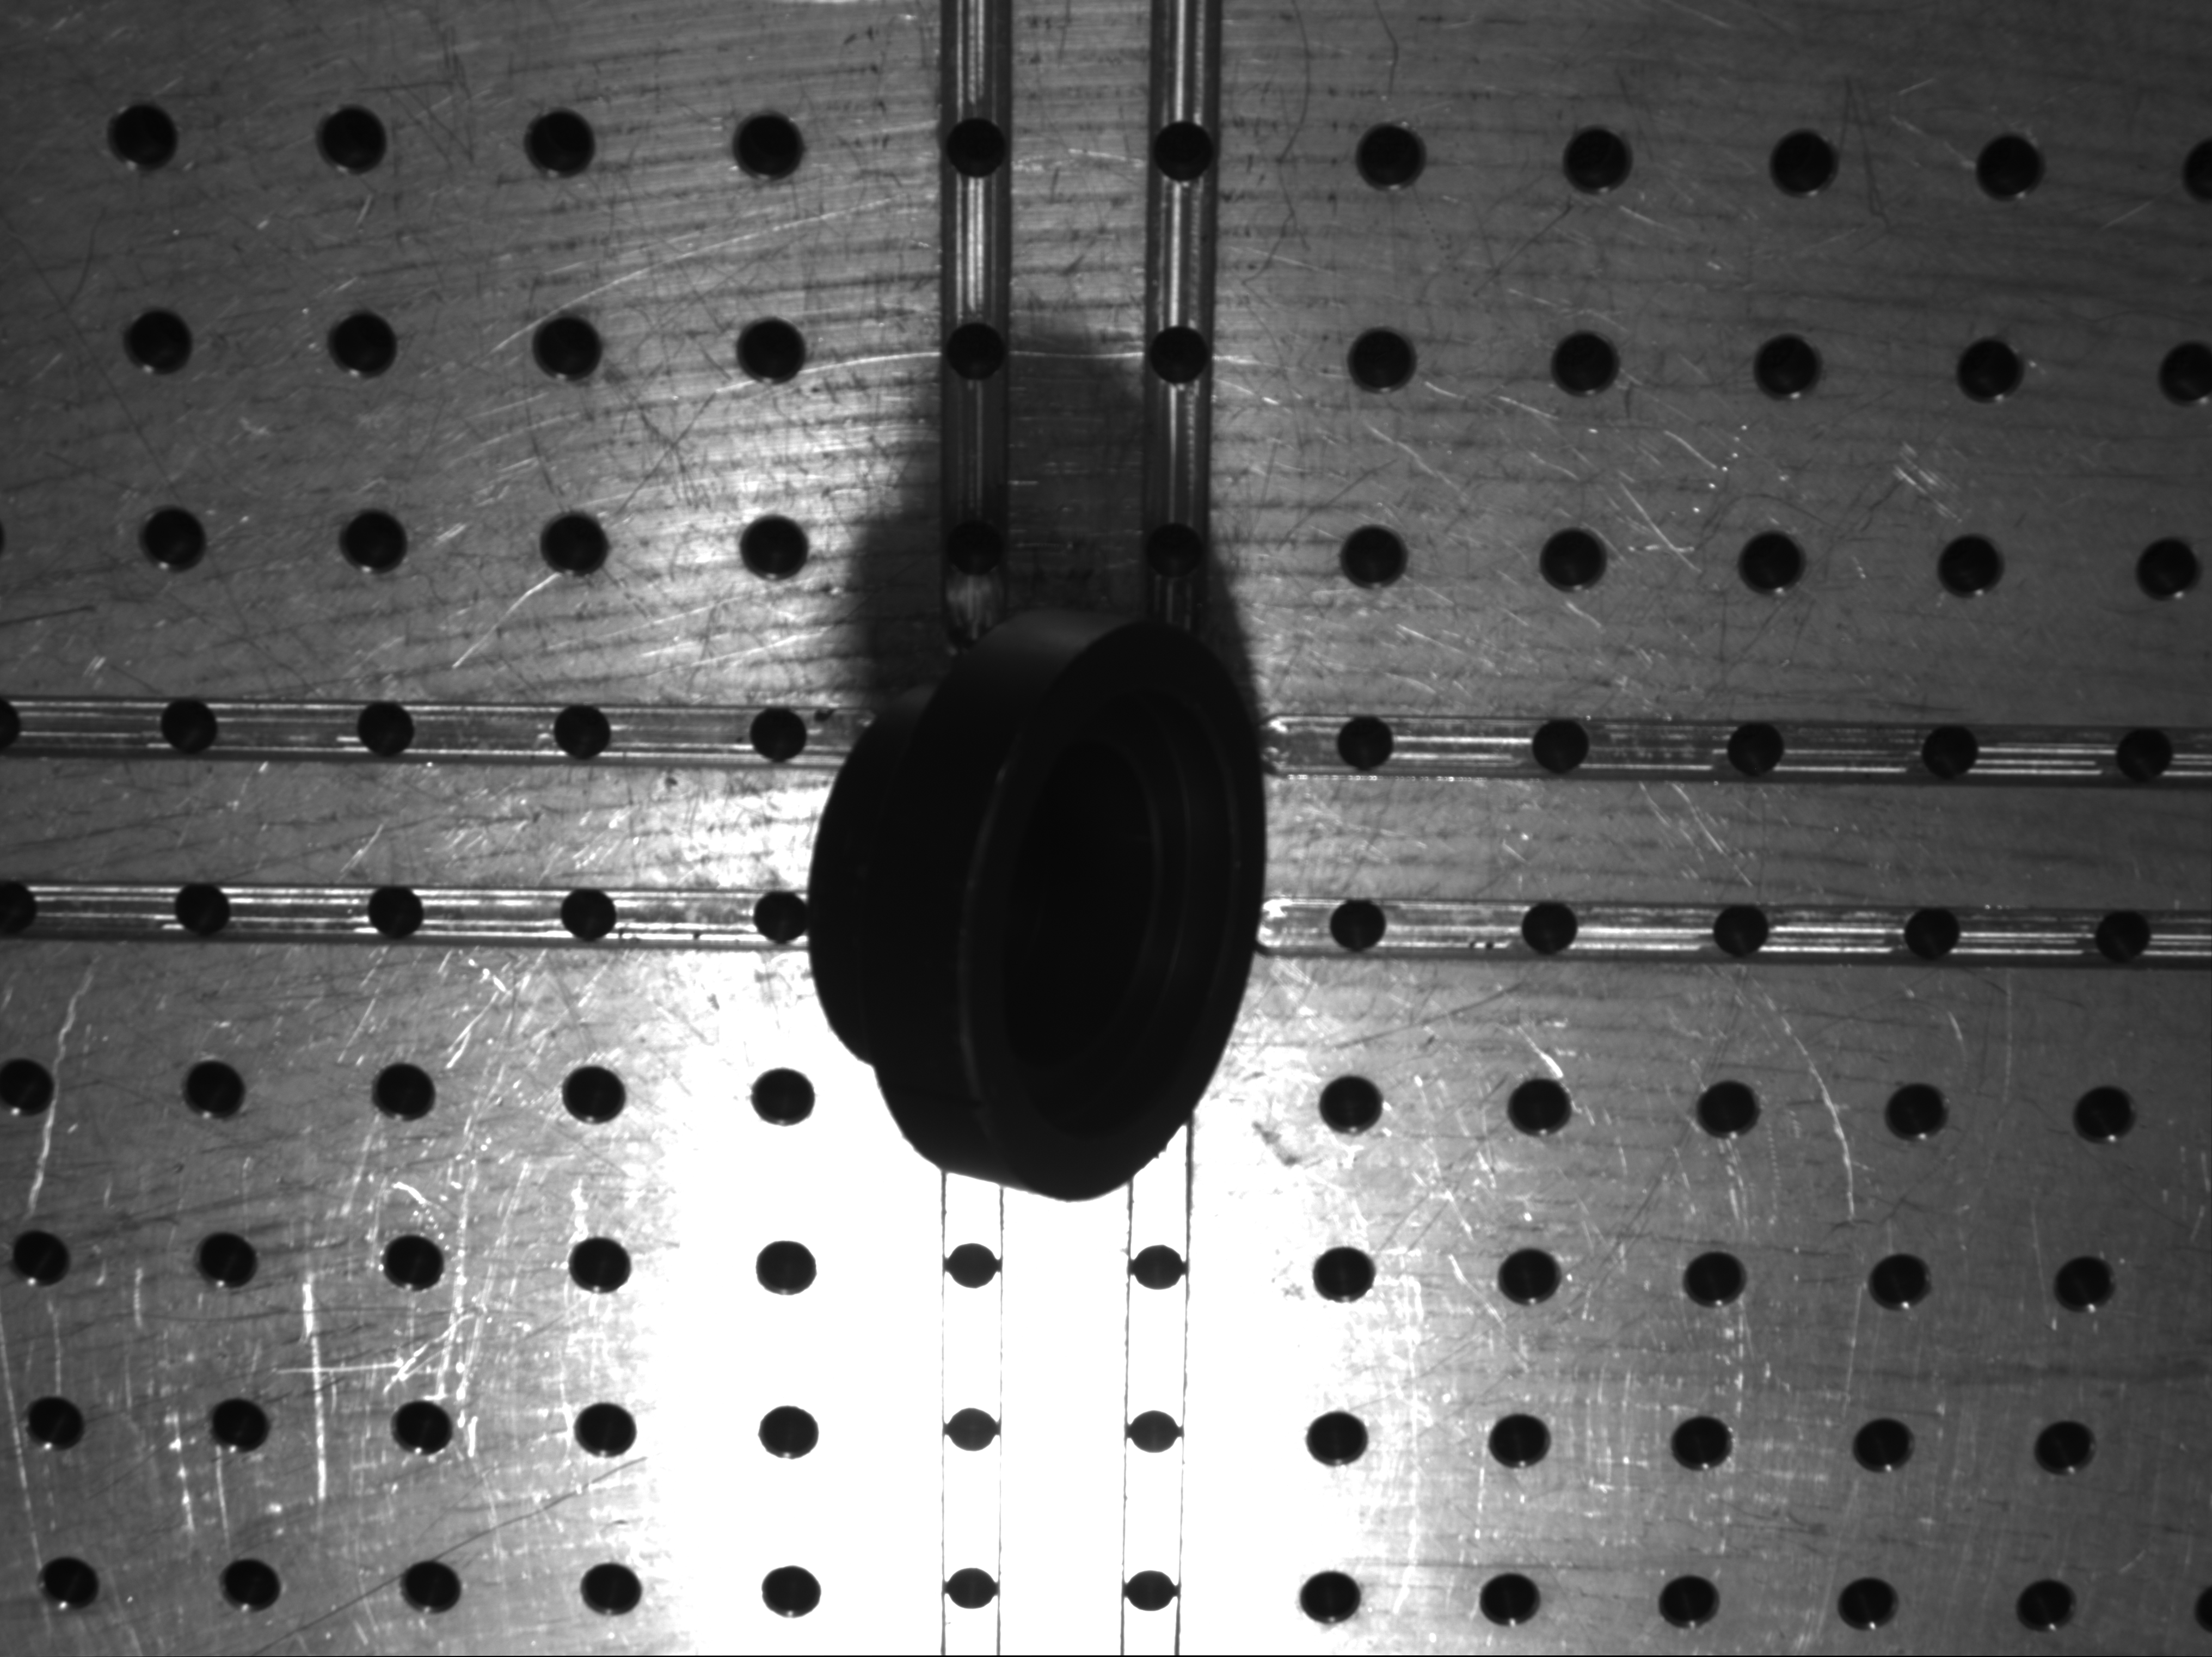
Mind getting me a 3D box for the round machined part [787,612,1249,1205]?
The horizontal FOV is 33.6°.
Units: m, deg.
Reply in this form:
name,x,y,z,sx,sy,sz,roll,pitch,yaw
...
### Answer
name,x,y,z,sx,sy,sz,roll,pitch,yaw
round machined part,-0.018,0.012,0.620,0.042,0.098,0.098,10,113,30
